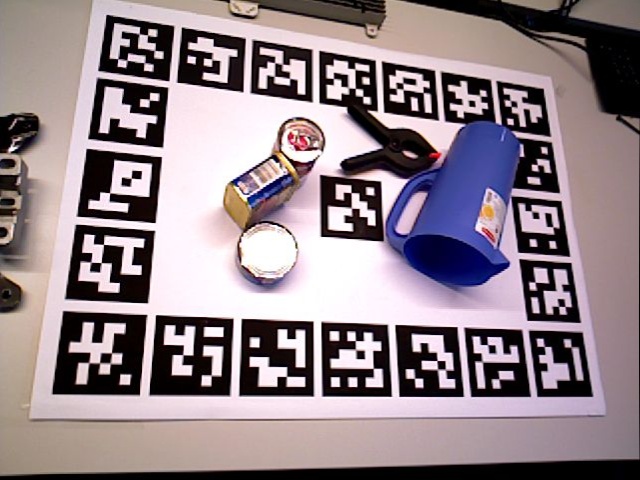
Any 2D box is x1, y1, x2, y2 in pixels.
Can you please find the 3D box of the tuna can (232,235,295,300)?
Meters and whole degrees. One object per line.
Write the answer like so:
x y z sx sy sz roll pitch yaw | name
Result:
-0.079 0.039 0.758 0.085 0.034 0.085 4 74 -13 | tuna can

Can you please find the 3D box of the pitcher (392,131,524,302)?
0.220 -0.044 0.805 0.189 0.135 0.238 16 60 14 | pitcher

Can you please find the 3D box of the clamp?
0.096 -0.138 0.870 0.163 0.037 0.120 8 67 -16 | clamp

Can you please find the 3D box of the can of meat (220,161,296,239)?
-0.088 -0.051 0.744 0.082 0.103 0.058 -33 84 -19 | can of meat

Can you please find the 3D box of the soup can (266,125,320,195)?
-0.044 -0.110 0.779 0.067 0.104 0.067 3 73 -12 | soup can
